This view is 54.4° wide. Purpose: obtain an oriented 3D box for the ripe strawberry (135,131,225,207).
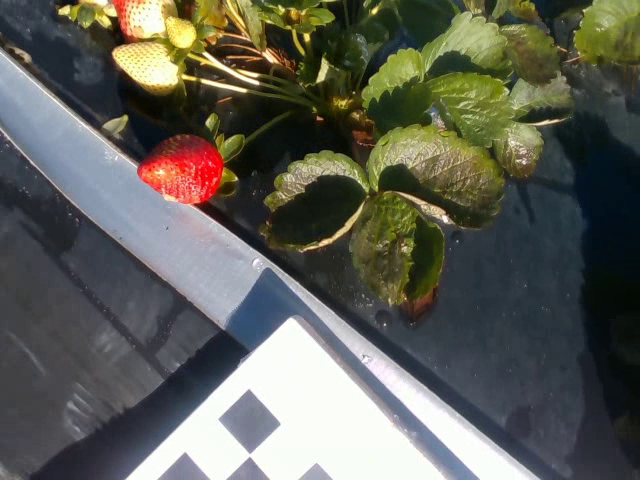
[{"bbox_3d":[-0.062,-0.030,0.257,0.036,0.038,0.045,46,19,13],"label":"ripe strawberry"}]
